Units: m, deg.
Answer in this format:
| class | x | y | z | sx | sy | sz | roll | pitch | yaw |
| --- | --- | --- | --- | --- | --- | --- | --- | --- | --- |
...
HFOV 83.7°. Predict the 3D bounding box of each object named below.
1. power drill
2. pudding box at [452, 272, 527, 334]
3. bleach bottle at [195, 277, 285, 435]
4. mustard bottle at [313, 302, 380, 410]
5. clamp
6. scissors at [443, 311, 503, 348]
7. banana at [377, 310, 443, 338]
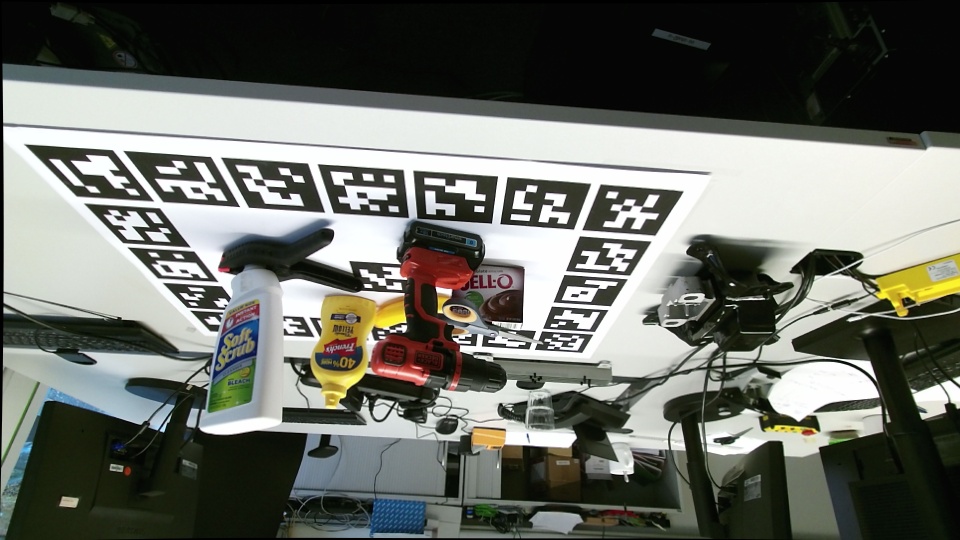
| class | x | y | z | sx | sy | sz | roll | pitch | yaw |
| --- | --- | --- | --- | --- | --- | --- | --- | --- | --- |
| power drill | -0.042 | 0.070 | 0.724 | 0.185 | 0.186 | 0.057 | 8 | 156 | -14 |
| pudding box | 0.016 | 0.051 | 0.837 | 0.114 | 0.089 | 0.039 | 6 | 156 | -4 |
| bleach bottle | -0.339 | 0.107 | 0.780 | 0.103 | 0.249 | 0.068 | -12 | 151 | 11 |
| mustard bottle | -0.236 | 0.146 | 0.926 | 0.096 | 0.190 | 0.058 | 12 | 148 | -13 |
| clamp | -0.299 | 0.012 | 0.820 | 0.203 | 0.036 | 0.165 | 1 | 147 | 5 |
| scissors | 0.022 | 0.110 | 0.811 | 0.203 | 0.016 | 0.088 | 21 | 141 | -20 |
| banana | -0.126 | 0.104 | 0.975 | 0.198 | 0.038 | 0.074 | -20 | 159 | 32 |
